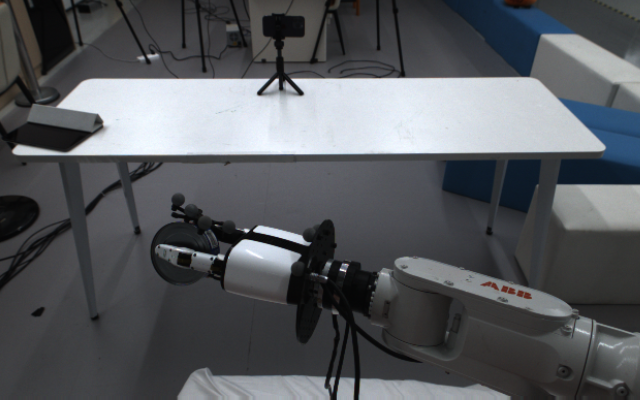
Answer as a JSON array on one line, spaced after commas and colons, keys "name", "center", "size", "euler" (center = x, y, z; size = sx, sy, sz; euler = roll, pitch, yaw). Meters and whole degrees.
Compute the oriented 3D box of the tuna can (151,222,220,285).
[{"name": "tuna can", "center": [-0.179, 0.071, 0.648], "size": [0.085, 0.085, 0.034], "euler": [10, 4, 11]}]
